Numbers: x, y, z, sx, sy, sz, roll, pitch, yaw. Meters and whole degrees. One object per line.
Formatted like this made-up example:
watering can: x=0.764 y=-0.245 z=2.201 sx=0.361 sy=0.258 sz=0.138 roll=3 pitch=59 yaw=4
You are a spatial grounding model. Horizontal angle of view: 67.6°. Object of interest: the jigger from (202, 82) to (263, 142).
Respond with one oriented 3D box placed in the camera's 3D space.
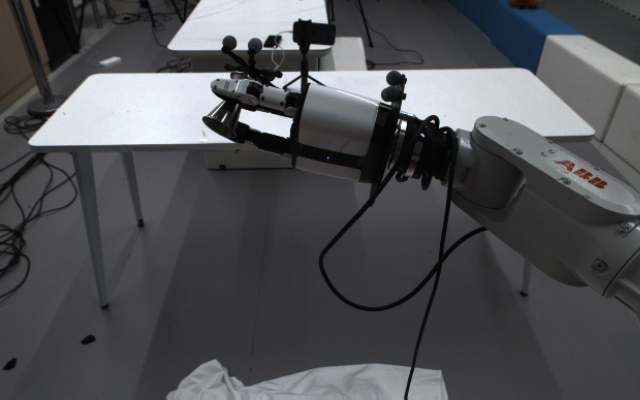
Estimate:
jigger: x=-0.104 y=-0.115 z=0.572 sx=0.043 sy=0.043 sz=0.071 roll=19 pitch=72 yaw=23
